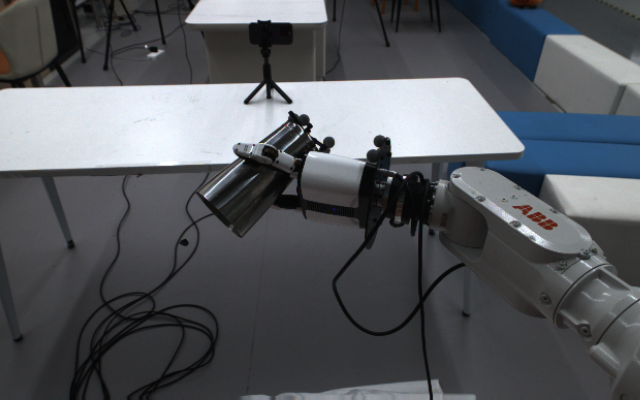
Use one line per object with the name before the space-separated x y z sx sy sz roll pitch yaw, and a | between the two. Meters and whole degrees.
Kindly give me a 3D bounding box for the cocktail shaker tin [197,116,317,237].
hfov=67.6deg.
cocktail shaker tin | -0.086 -0.039 0.708 0.170 0.093 0.093 -43 50 -14
